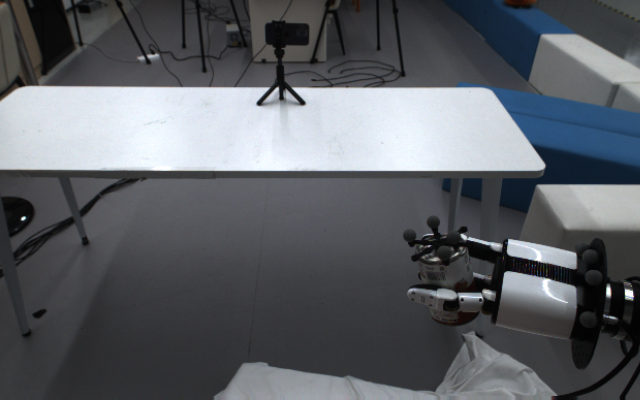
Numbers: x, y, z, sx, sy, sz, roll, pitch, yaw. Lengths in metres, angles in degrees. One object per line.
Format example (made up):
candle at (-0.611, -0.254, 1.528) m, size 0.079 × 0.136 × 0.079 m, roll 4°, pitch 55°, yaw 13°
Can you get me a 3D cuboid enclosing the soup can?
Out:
soup can at (0.171, 0.103, 0.636) m, size 0.067 × 0.101 × 0.067 m, roll -16°, pitch 23°, yaw 7°
